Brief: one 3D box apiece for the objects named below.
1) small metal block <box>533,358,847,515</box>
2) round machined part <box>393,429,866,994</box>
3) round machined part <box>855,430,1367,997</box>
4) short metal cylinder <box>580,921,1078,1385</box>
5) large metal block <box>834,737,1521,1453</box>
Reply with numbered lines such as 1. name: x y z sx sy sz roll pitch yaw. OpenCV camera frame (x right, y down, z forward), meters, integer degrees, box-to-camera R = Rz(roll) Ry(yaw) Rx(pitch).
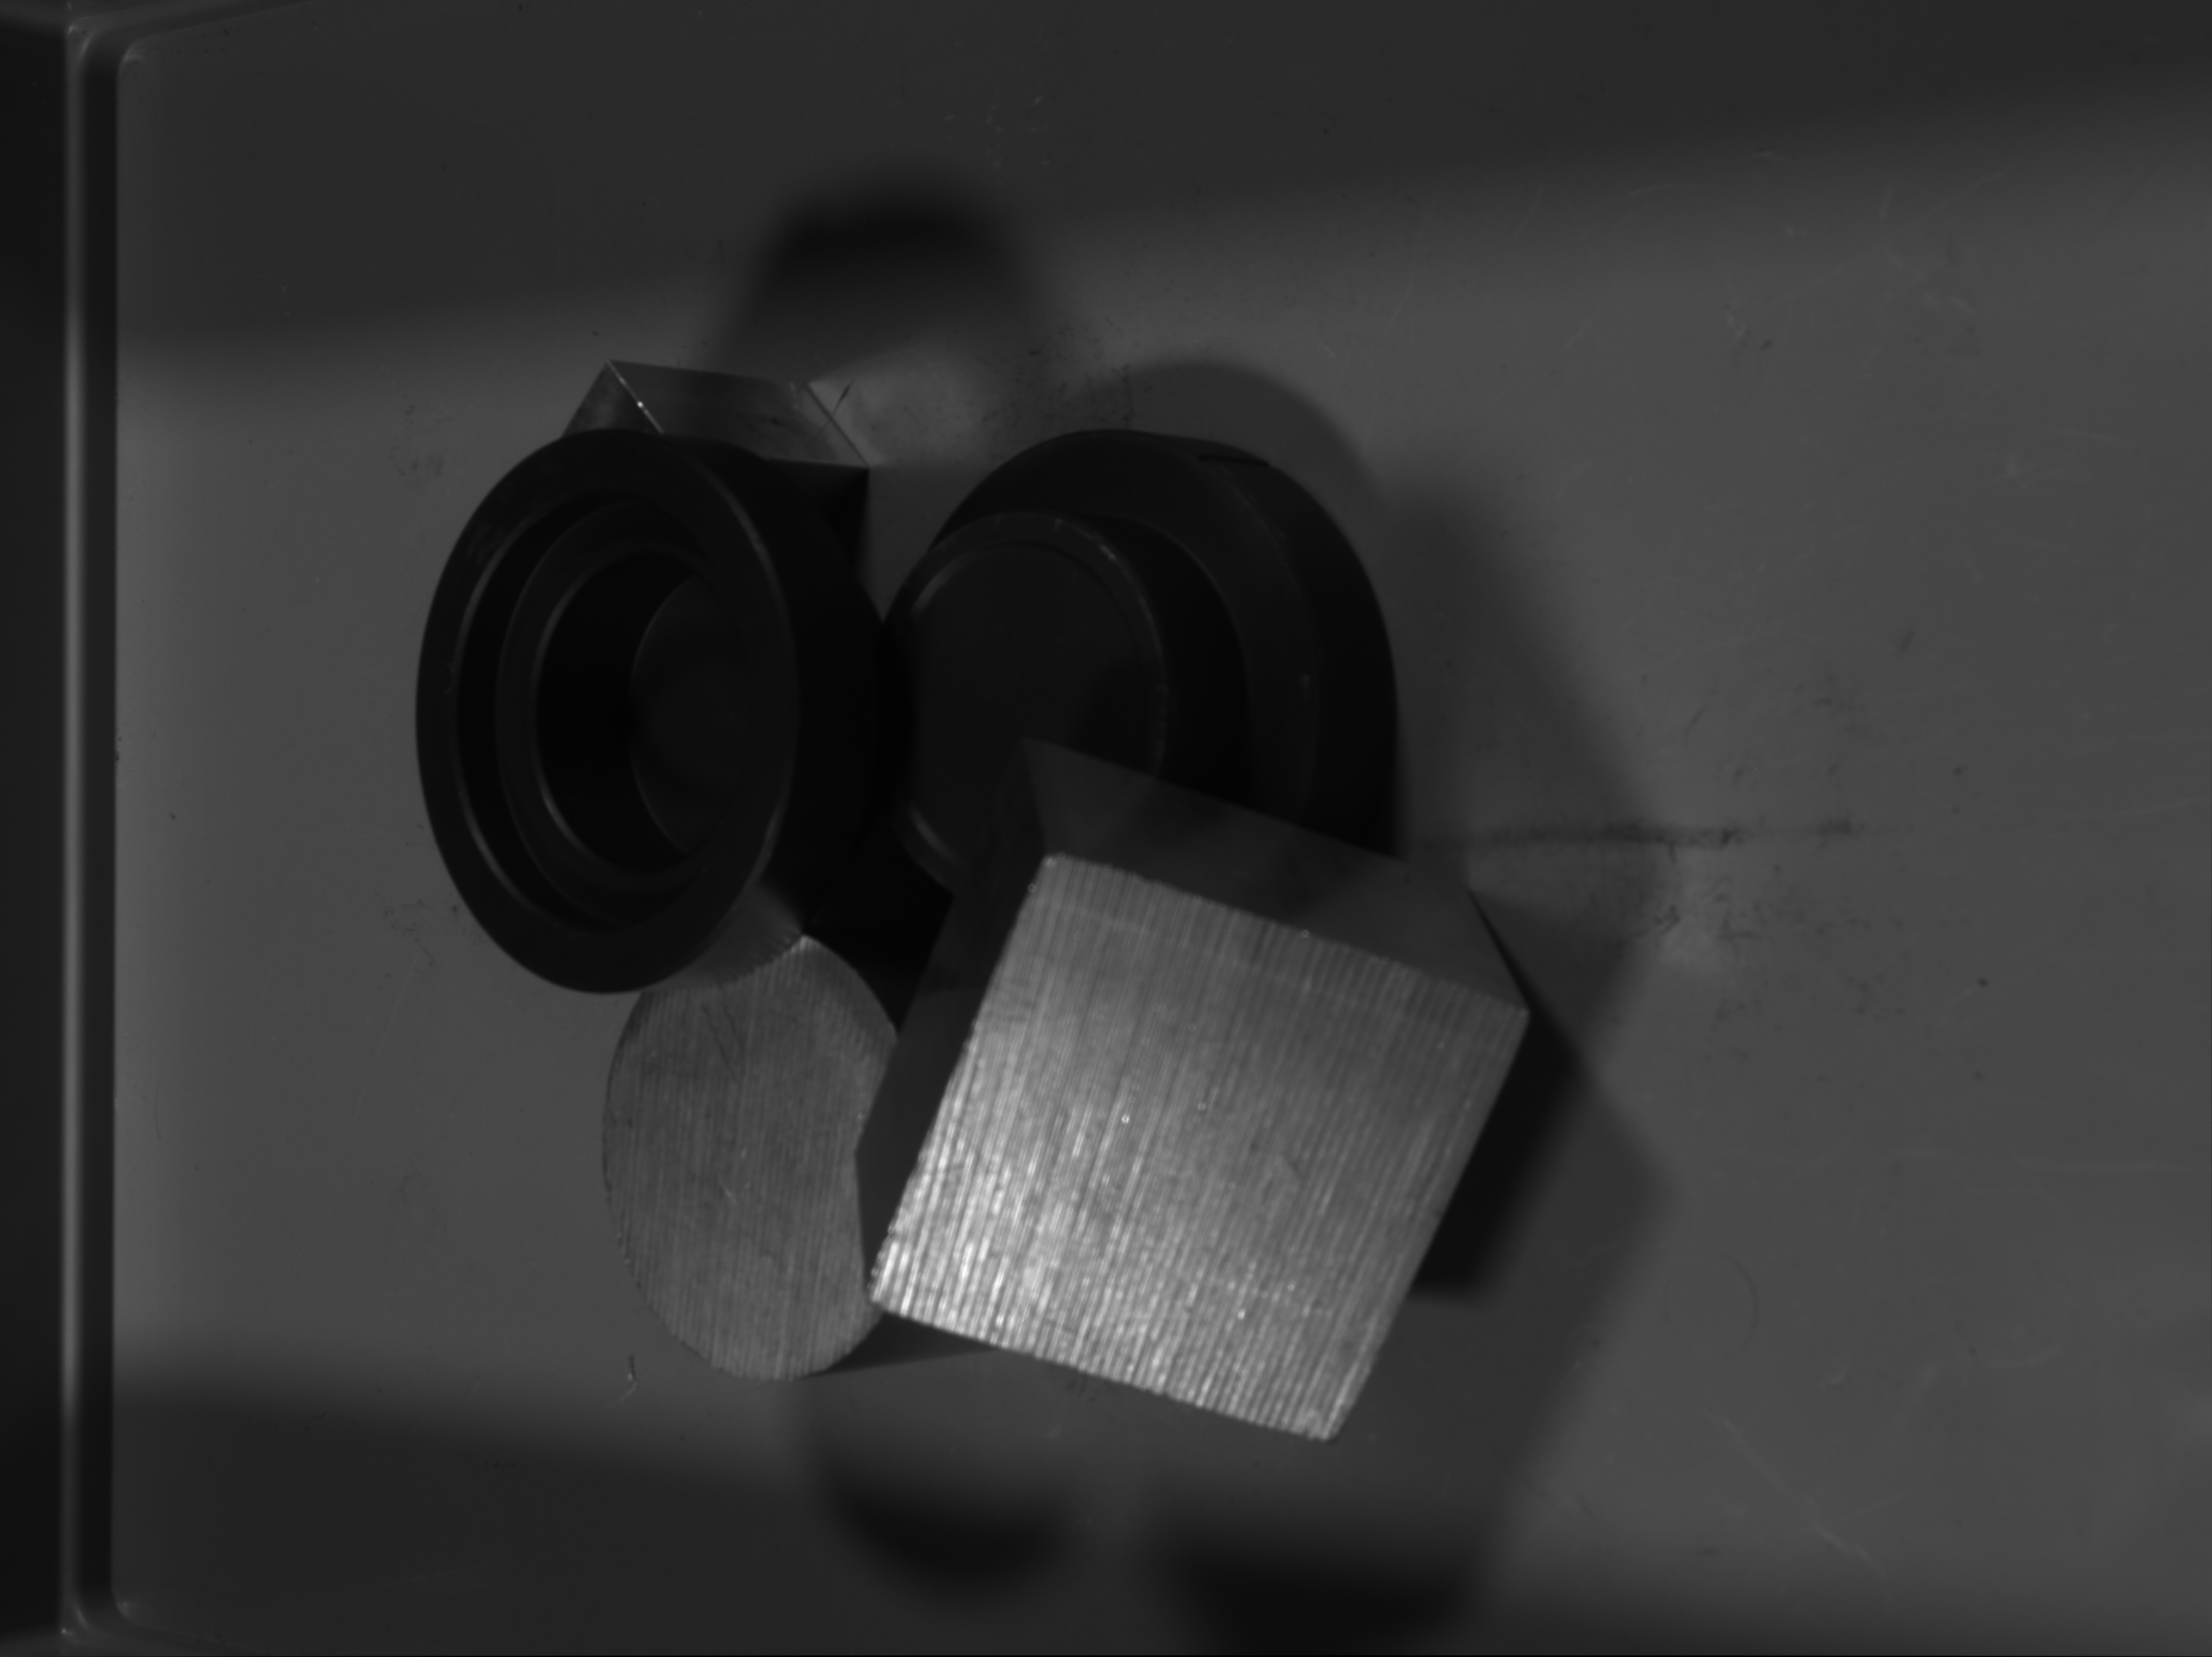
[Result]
1. small metal block: -0.085 -0.059 0.688 0.025 0.050 0.050 51 120 27
2. round machined part: -0.079 -0.020 0.651 0.098 0.042 0.098 0 90 39
3. round machined part: -0.007 -0.019 0.627 0.098 0.042 0.098 0 90 39
4. short metal cylinder: -0.049 0.057 0.658 0.080 0.050 0.080 0 90 39
5. large metal block: 0.009 0.042 0.583 0.050 0.080 0.080 -106 37 -69
